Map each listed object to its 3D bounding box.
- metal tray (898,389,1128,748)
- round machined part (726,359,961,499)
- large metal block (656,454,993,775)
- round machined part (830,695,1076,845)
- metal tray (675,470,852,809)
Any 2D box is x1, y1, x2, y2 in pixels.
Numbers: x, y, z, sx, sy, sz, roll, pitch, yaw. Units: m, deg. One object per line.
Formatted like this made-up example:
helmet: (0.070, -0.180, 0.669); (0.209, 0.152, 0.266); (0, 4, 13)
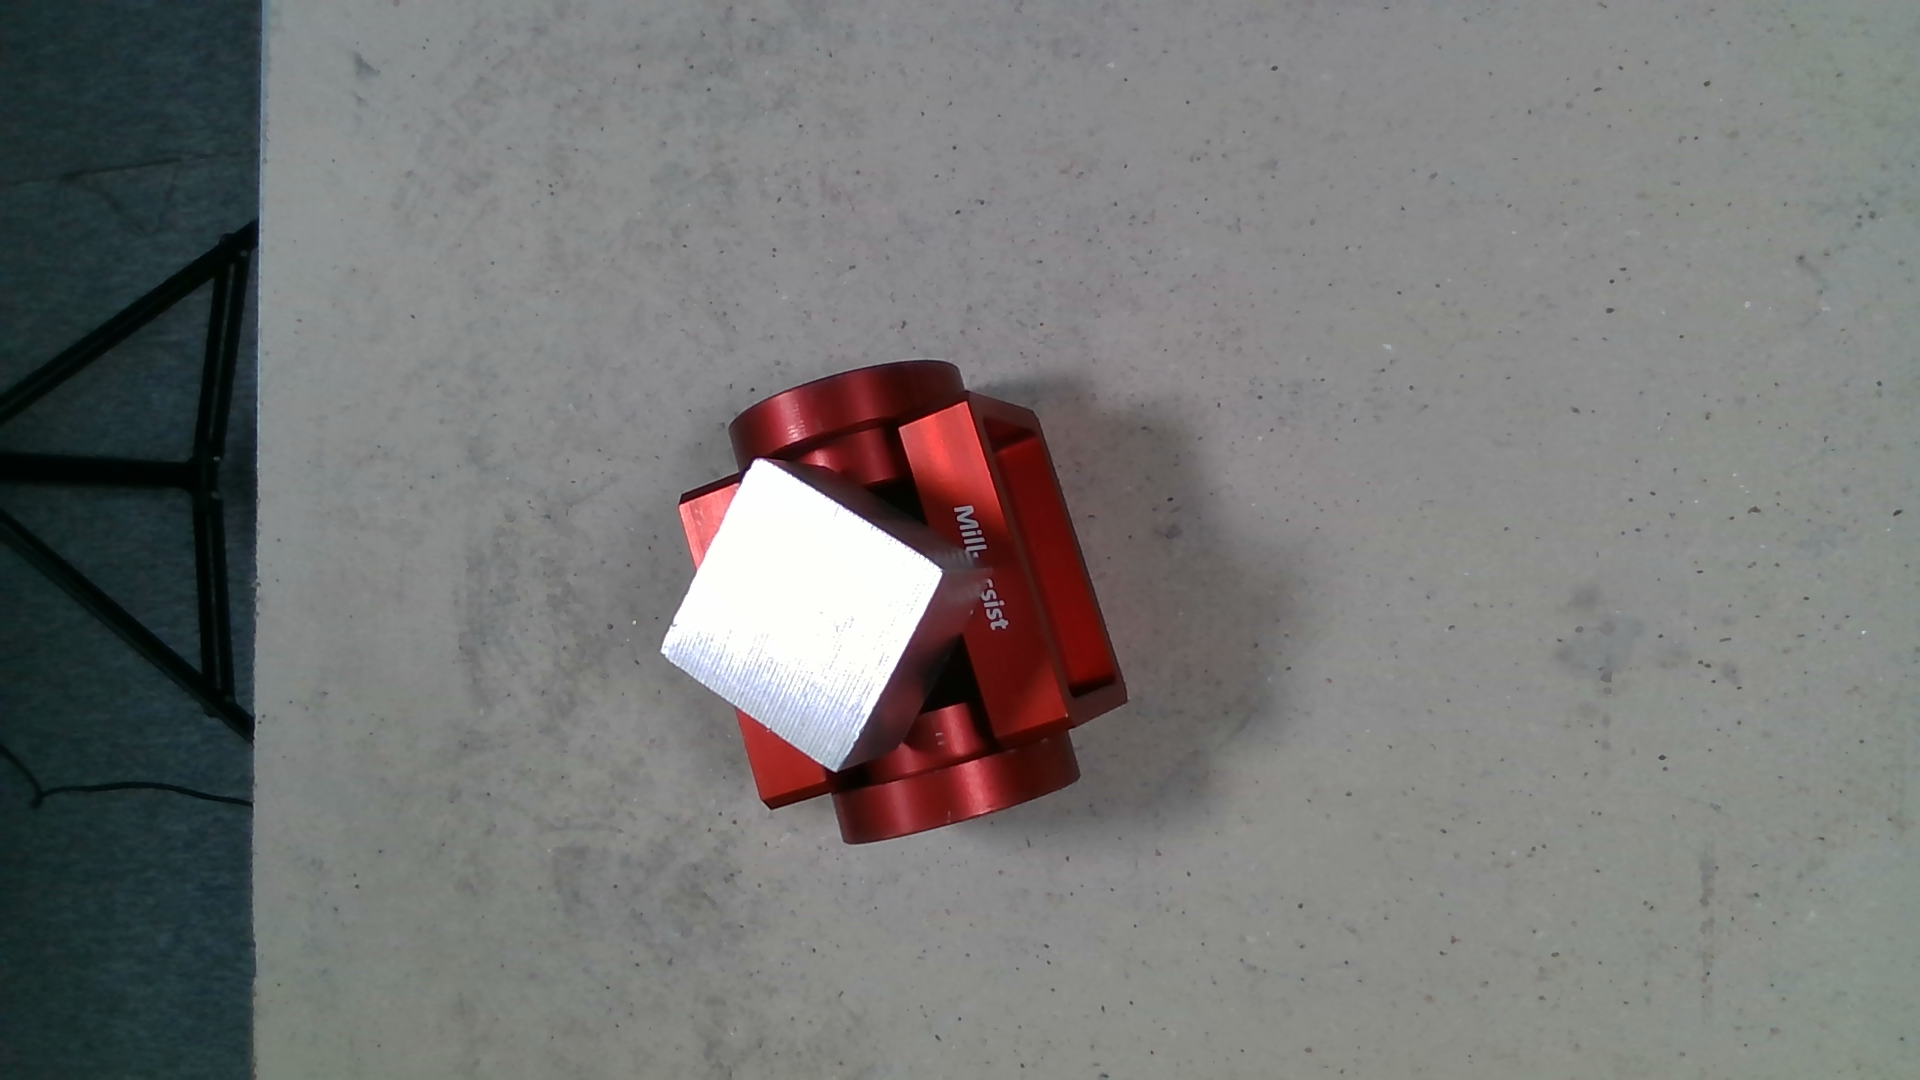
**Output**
metal tray: (0.023, 0.010, 0.543); (0.030, 0.090, 0.130); (-20, 84, 19)
round machined part: (-0.043, -0.038, 0.562); (0.098, 0.098, 0.042); (-17, 85, 20)
large metal block: (-0.048, 0.025, 0.492); (0.080, 0.050, 0.080); (31, 101, 17)
round machined part: (-0.005, 0.087, 0.549); (0.098, 0.098, 0.042); (-17, 85, 20)
metal tray: (-0.067, 0.039, 0.575); (0.030, 0.090, 0.130); (-19, 84, 19)
